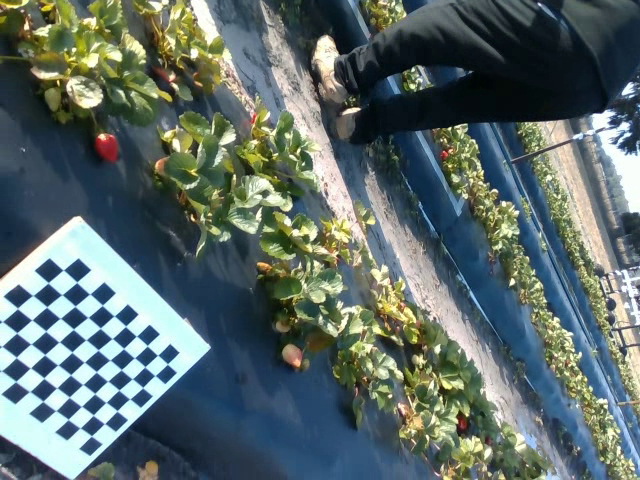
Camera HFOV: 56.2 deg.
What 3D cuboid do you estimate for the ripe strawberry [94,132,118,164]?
[{"bbox_3d":[-0.271,-0.116,0.761,0.030,0.044,0.033,-16,-7,-27],"label":"ripe strawberry"}]
